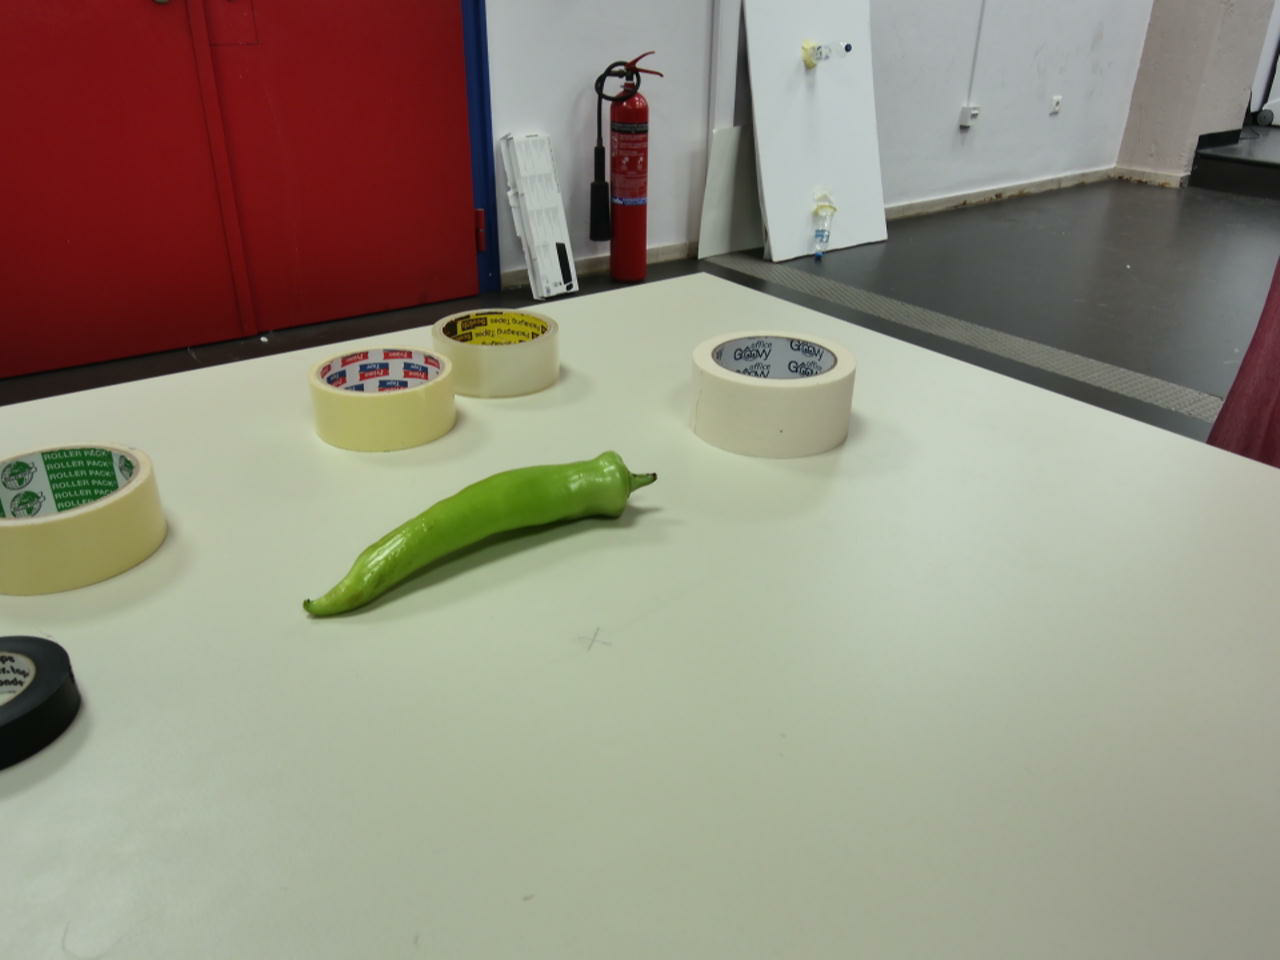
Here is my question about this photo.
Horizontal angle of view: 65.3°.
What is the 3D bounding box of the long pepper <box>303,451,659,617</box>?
[{"bbox_3d":[-0.080,0.019,0.510,0.197,0.038,0.047,-16,30,-32],"label":"long pepper"}]
